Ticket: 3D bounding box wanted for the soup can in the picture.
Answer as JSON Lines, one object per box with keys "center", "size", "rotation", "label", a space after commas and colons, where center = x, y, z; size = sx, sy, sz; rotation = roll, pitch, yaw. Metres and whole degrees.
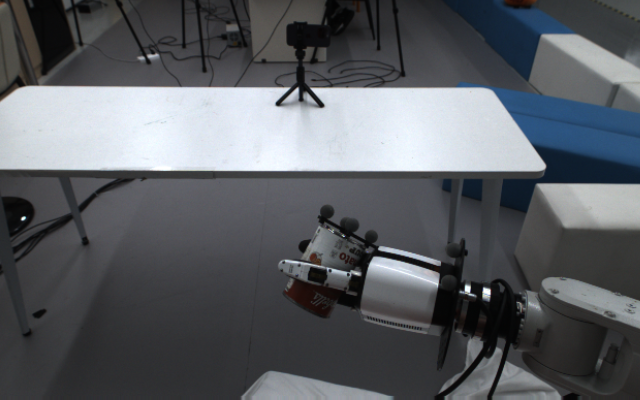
{"center": [0.007, 0.089, 0.609], "size": [0.067, 0.101, 0.067], "rotation": [29, -2, 1], "label": "soup can"}
